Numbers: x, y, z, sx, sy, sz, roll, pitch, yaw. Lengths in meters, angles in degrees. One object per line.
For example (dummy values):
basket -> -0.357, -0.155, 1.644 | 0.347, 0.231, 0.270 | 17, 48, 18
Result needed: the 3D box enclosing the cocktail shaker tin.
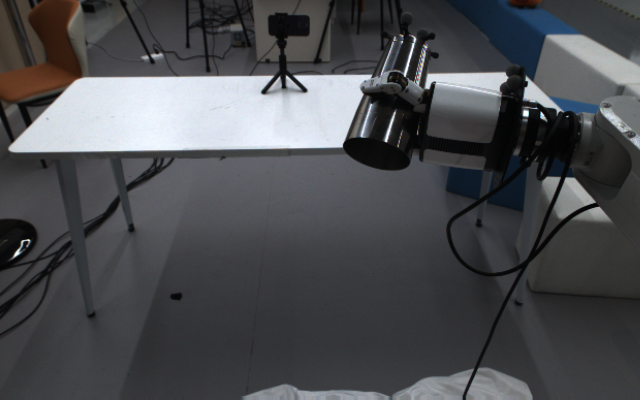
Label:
cocktail shaker tin -> 0.101, -0.136, 0.663 | 0.093, 0.093, 0.170 | 14, 73, 16
